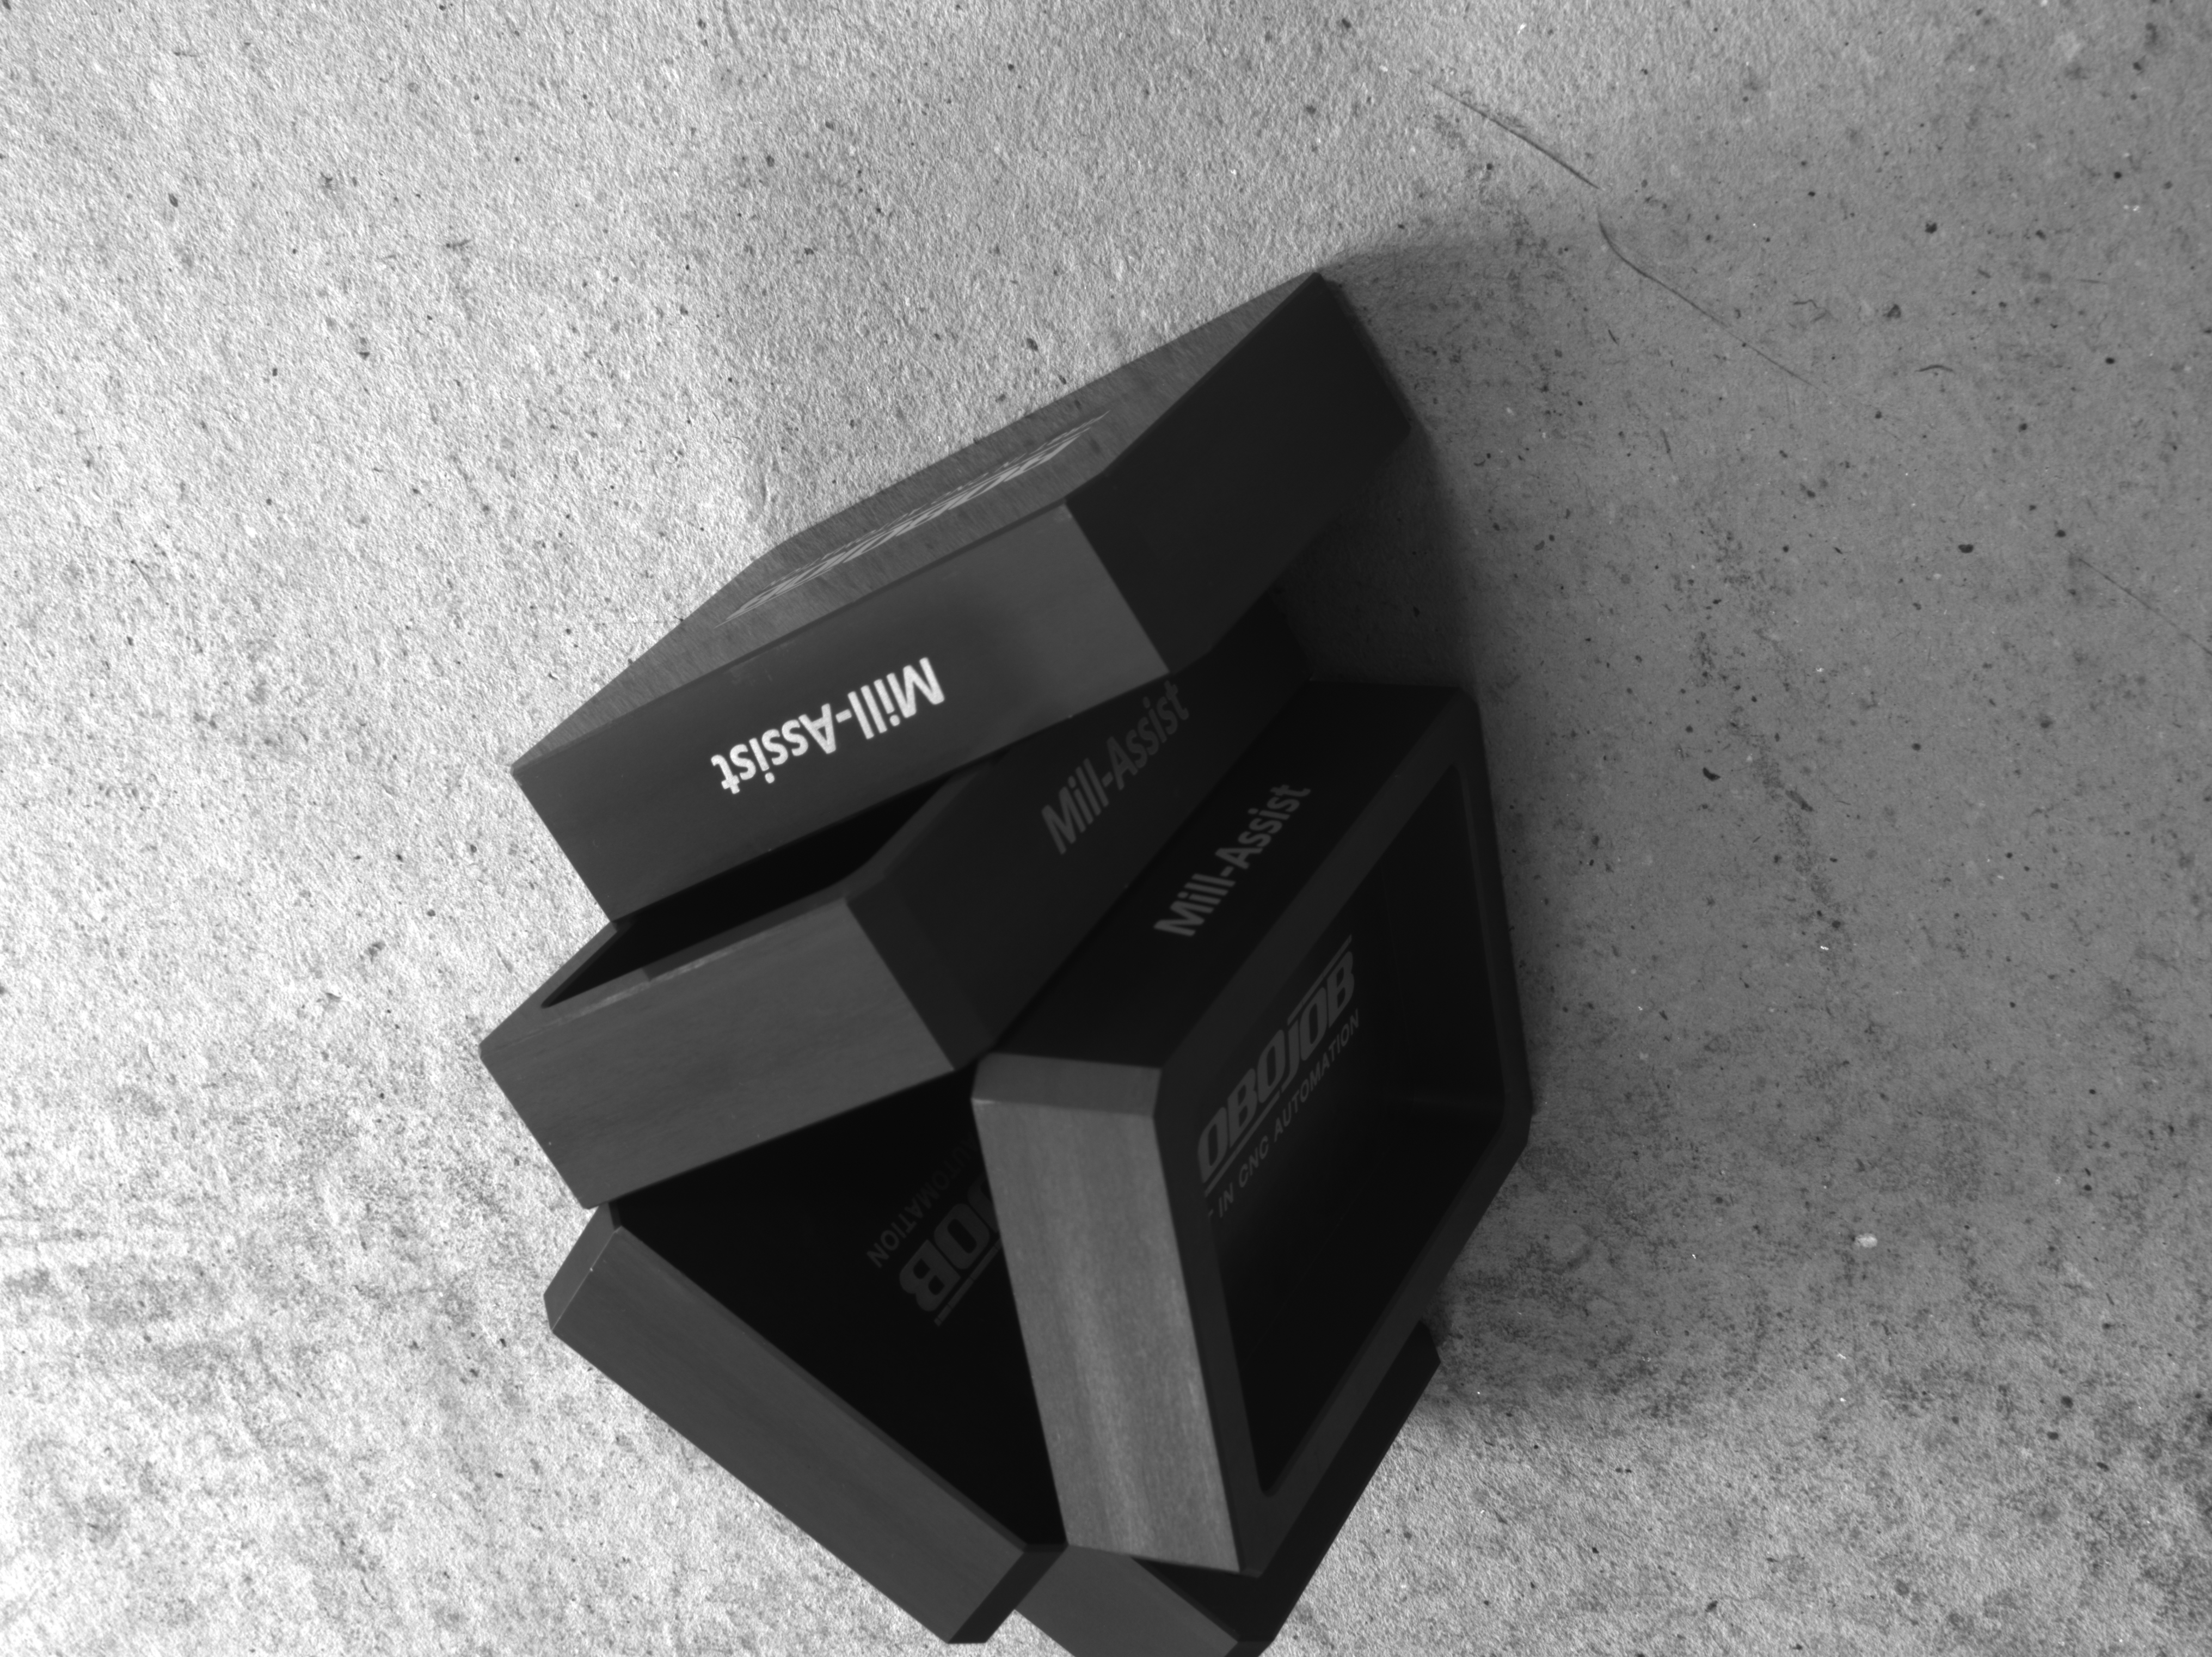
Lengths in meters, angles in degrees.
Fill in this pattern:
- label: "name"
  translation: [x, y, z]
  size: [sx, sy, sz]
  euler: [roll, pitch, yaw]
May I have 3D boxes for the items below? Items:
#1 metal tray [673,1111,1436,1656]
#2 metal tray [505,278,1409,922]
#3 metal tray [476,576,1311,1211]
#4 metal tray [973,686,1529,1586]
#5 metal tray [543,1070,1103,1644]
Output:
- label: "metal tray"
  translation: [-0.014, 0.088, 0.660]
  size: [0.130, 0.090, 0.030]
  euler: [38, 129, 3]
- label: "metal tray"
  translation: [-0.024, -0.036, 0.591]
  size: [0.130, 0.090, 0.030]
  euler: [-22, 106, 36]
- label: "metal tray"
  translation: [-0.032, 0.004, 0.593]
  size: [0.090, 0.130, 0.030]
  euler: [-23, 106, 36]
- label: "metal tray"
  translation: [0.028, 0.045, 0.587]
  size: [0.030, 0.130, 0.090]
  euler: [5, 121, 26]
- label: "metal tray"
  translation: [-0.023, 0.065, 0.627]
  size: [0.090, 0.130, 0.030]
  euler: [38, 129, 3]
